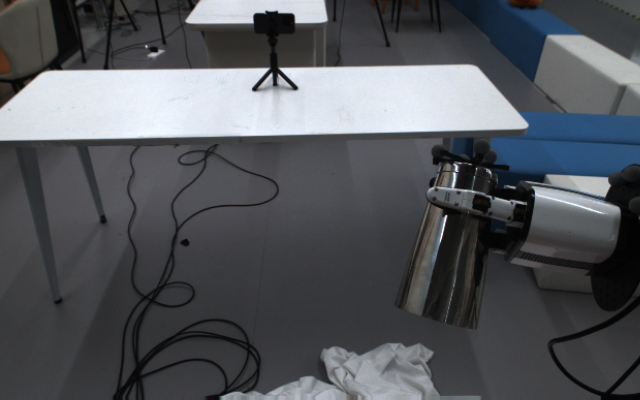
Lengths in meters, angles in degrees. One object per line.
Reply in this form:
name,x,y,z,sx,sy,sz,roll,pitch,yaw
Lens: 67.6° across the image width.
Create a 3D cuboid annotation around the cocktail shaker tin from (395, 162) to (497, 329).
cocktail shaker tin,0.151,0.046,0.550,0.093,0.170,0.093,15,-5,1
